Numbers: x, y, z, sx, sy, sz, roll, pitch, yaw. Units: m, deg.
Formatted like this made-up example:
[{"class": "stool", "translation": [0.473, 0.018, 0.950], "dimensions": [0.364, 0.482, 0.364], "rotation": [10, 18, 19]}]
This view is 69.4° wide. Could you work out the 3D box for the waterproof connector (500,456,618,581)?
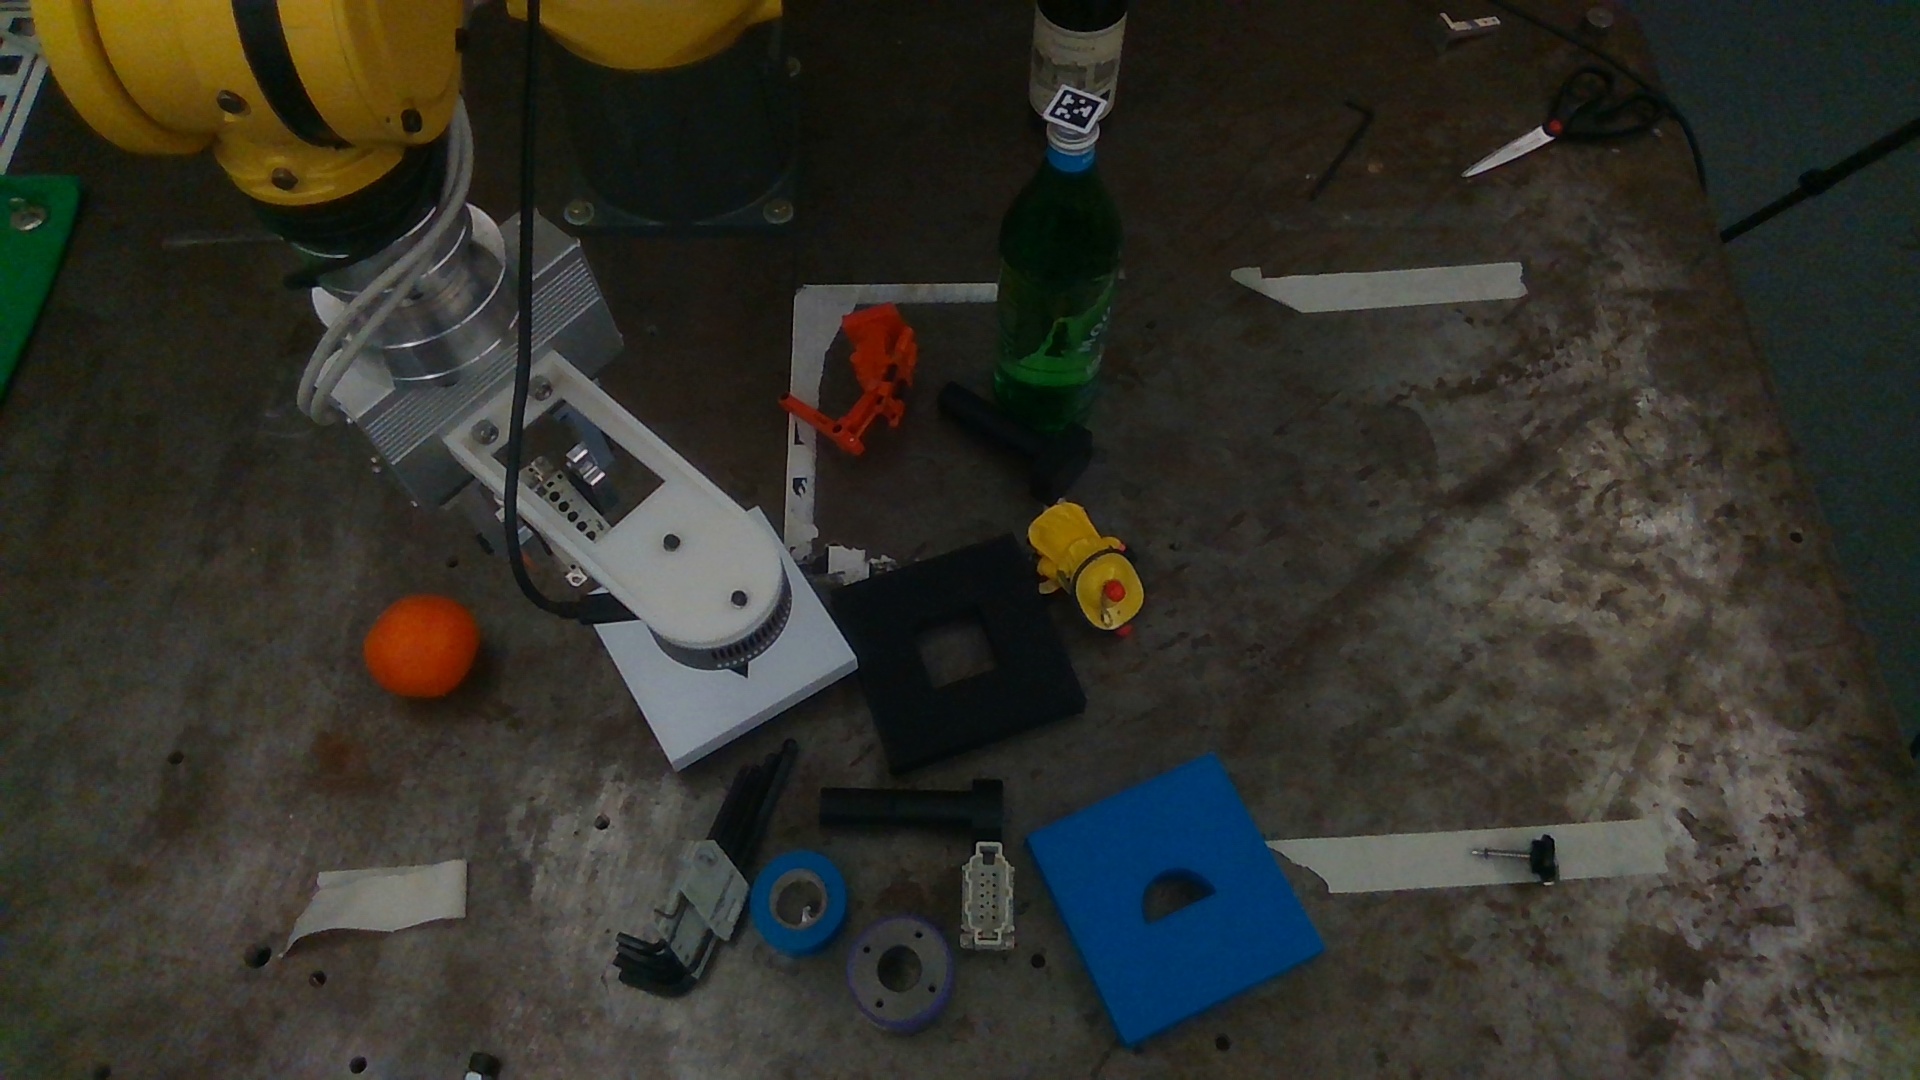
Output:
[{"class": "waterproof connector", "translation": [-0.227, -0.011, 0.782], "dimensions": [0.036, 0.039, 0.069], "rotation": [-43, 108, -23]}]
